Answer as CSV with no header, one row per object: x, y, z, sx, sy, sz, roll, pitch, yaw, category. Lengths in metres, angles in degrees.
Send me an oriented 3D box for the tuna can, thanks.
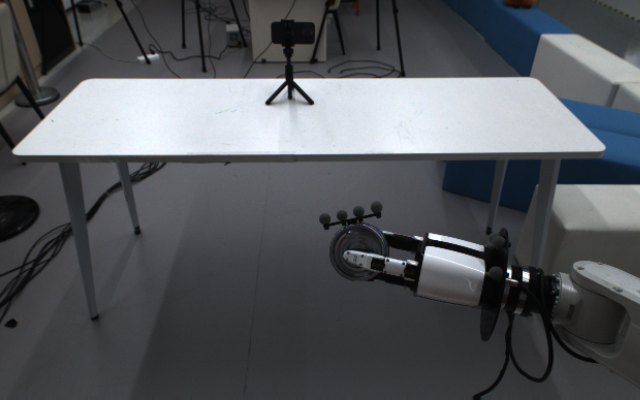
0.062,0.081,0.709,0.085,0.085,0.034,12,3,14,tuna can
